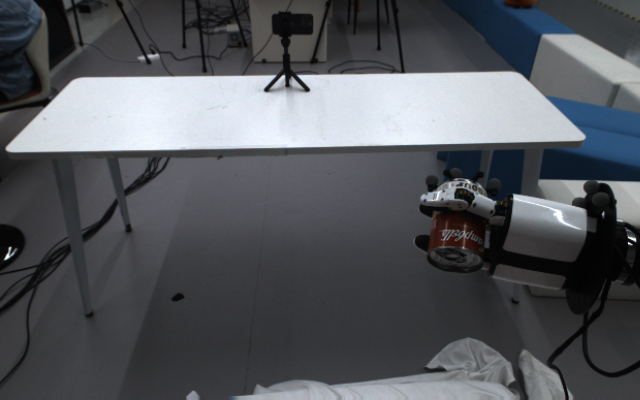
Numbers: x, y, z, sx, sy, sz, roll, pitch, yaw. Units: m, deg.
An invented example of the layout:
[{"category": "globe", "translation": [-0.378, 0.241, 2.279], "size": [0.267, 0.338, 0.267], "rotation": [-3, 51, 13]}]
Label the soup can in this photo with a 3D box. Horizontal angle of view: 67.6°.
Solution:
[{"category": "soup can", "translation": [0.176, 0.031, 0.610], "size": [0.067, 0.067, 0.101], "rotation": [9, 58, 10]}]
